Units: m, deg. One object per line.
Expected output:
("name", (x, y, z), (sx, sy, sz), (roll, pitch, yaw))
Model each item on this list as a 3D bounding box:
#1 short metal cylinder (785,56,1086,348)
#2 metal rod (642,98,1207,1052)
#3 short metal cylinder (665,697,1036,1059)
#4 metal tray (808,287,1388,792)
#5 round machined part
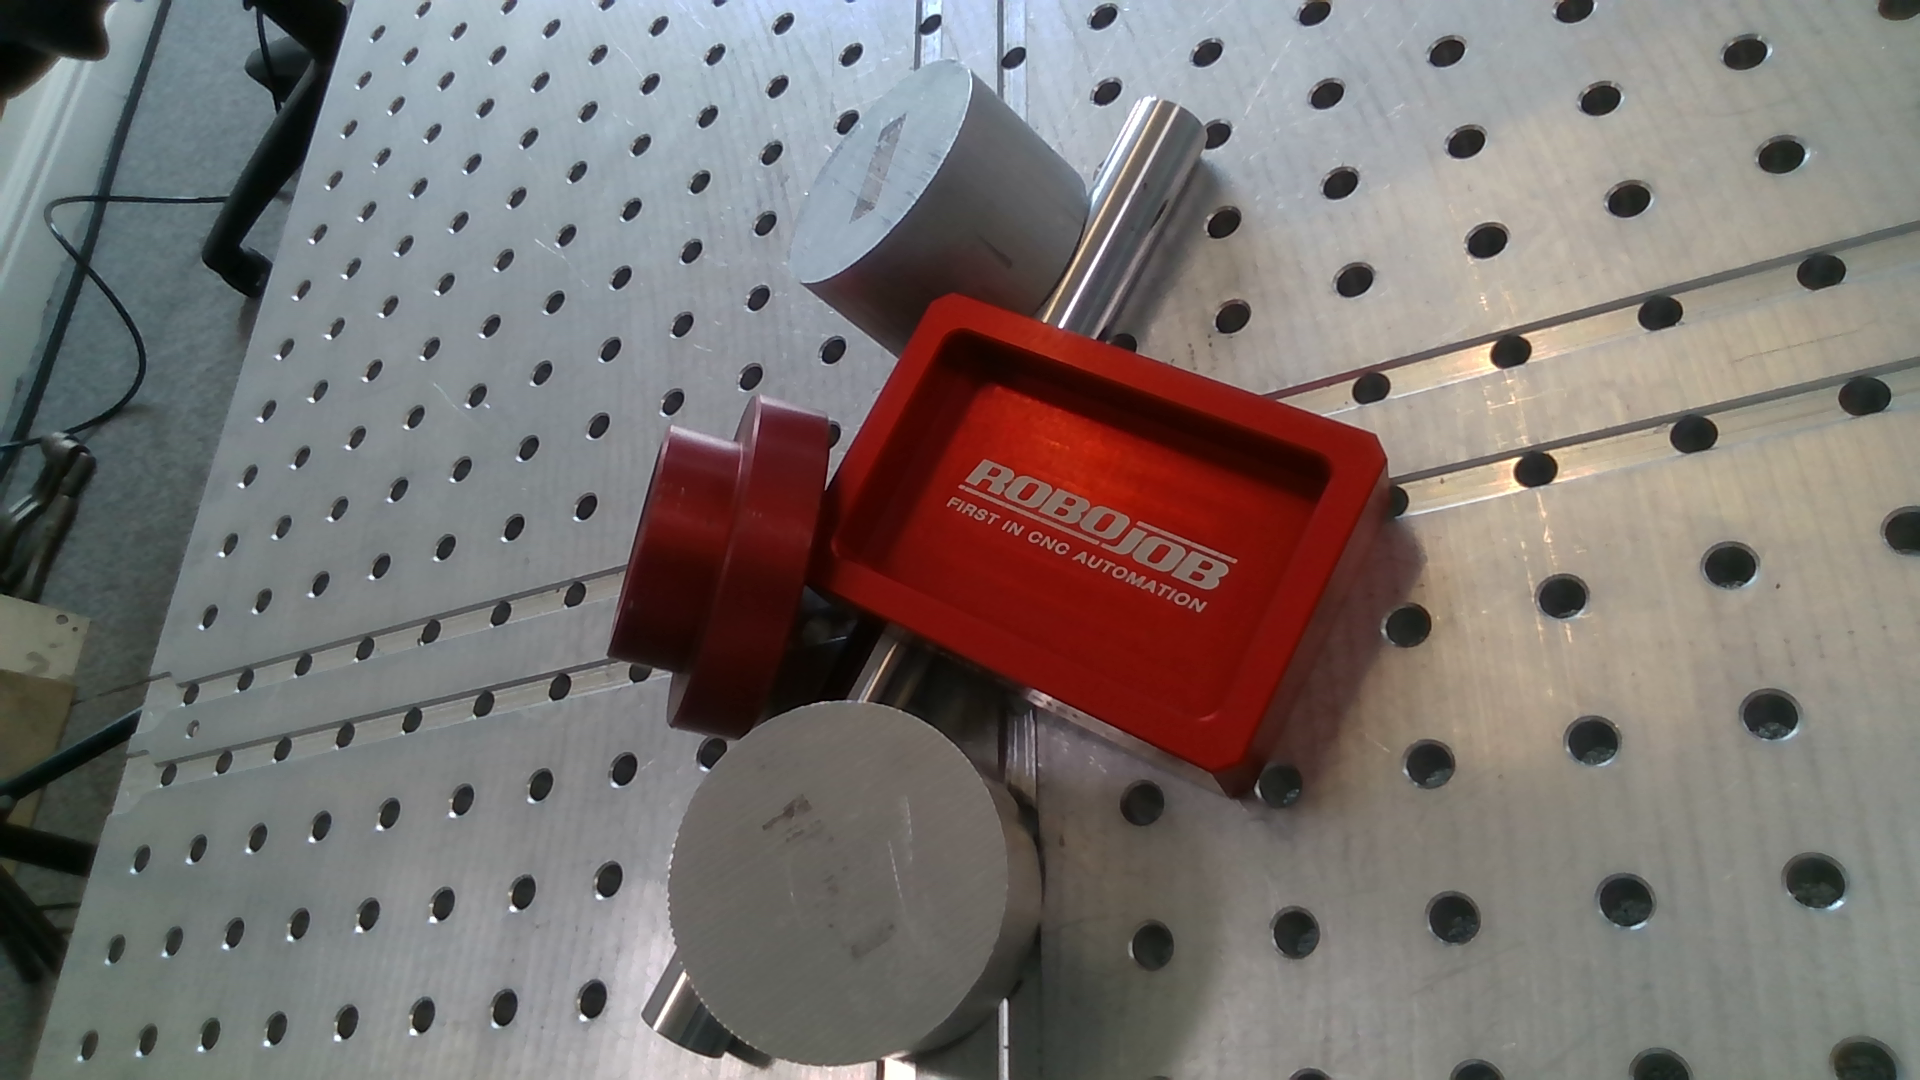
("short metal cylinder", (-0.008, -0.099, 0.422), (0.080, 0.050, 0.080), (-33, 39, 31))
("metal rod", (-0.005, 0.002, 0.398), (0.025, 0.025, 0.300), (20, 77, 37))
("short metal cylinder", (-0.024, 0.083, 0.336), (0.080, 0.050, 0.080), (-3, 72, 11))
("metal tray", (0.032, -0.004, 0.356), (0.130, 0.030, 0.090), (23, 79, 24))
("round machined part", (-0.072, 0.004, 0.392), (0.098, 0.042, 0.098), (-167, 91, -76))
